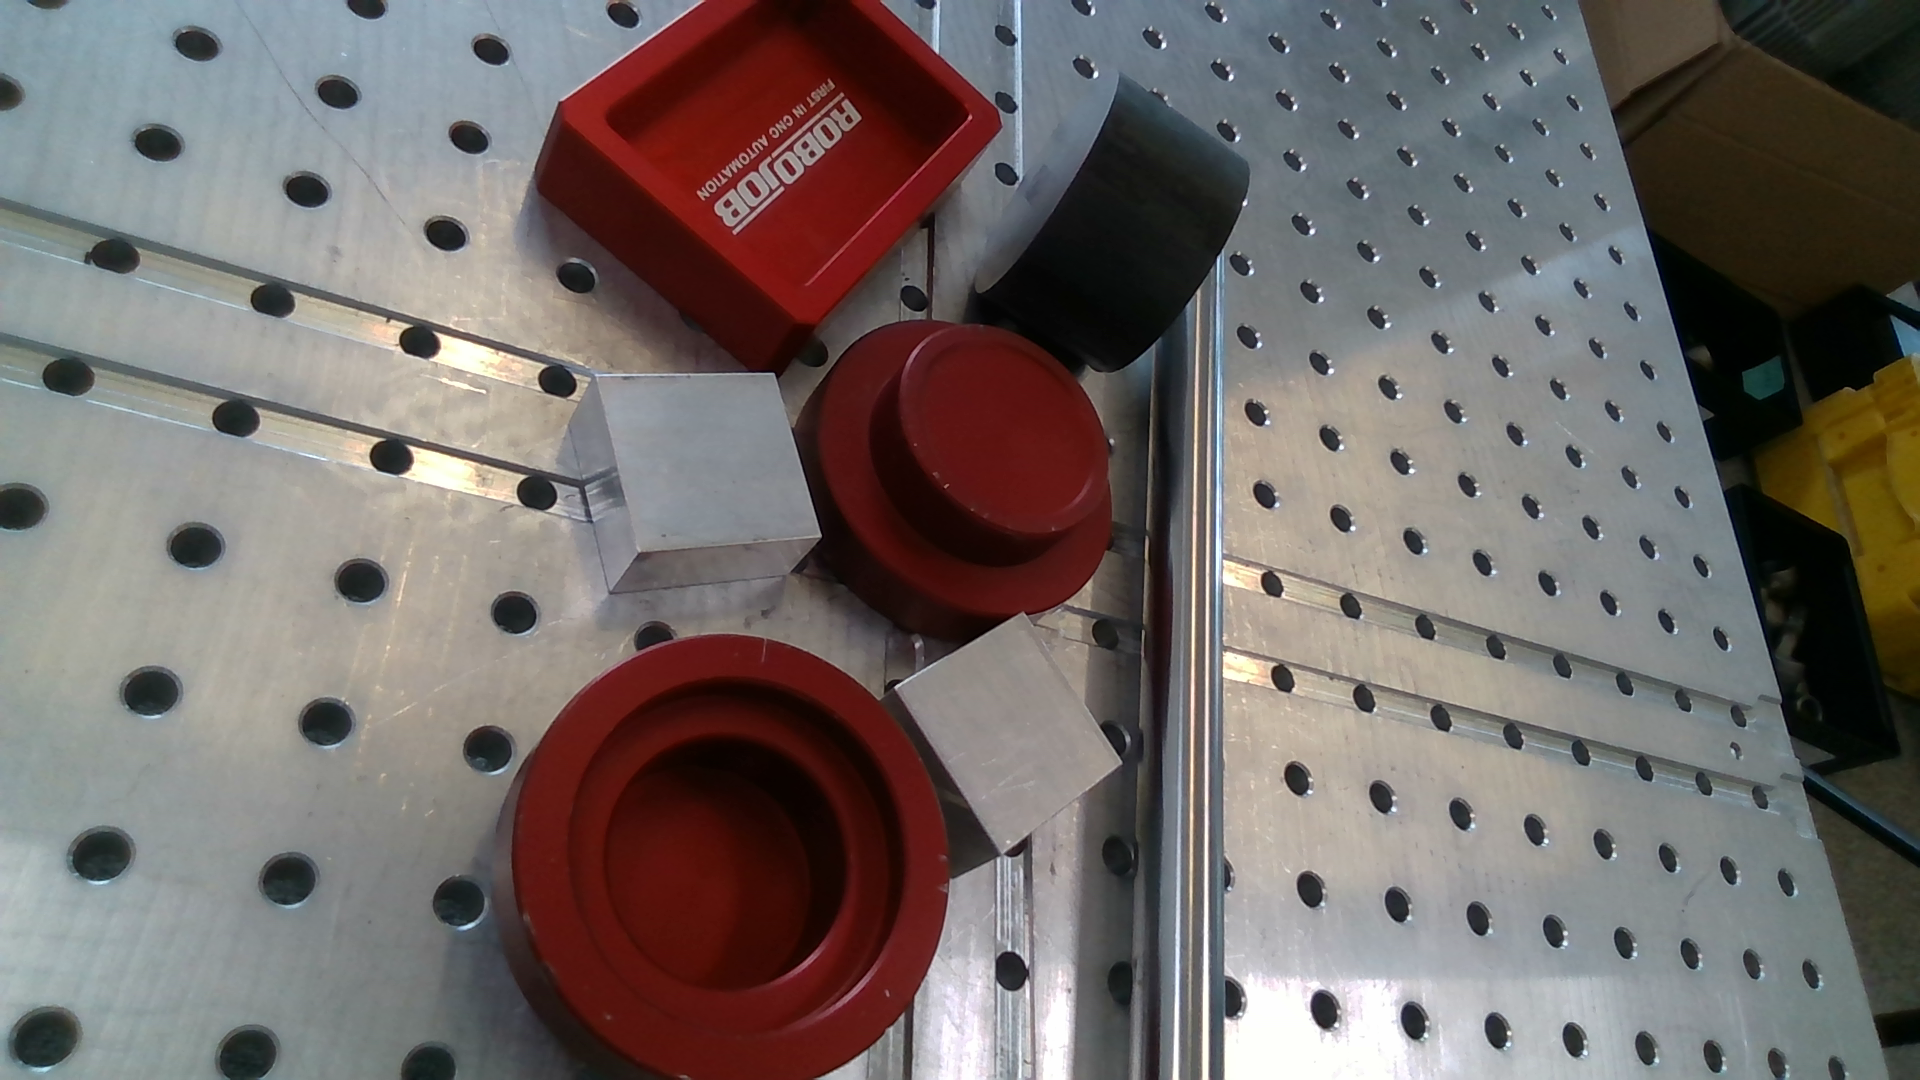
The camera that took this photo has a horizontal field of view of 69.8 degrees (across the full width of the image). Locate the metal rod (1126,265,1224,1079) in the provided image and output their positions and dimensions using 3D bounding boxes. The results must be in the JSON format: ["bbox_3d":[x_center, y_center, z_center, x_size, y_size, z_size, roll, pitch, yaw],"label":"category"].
[{"bbox_3d":[0.070,0.016,0.430,0.025,0.025,0.299,20,56,-21],"label":"metal rod"}]

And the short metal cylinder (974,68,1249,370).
[{"bbox_3d":[0.048,-0.103,0.445,0.050,0.080,0.080,30,53,-15],"label":"short metal cylinder"}]

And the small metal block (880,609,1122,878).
[{"bbox_3d":[0.007,0.054,0.372,0.050,0.025,0.050,-28,82,-39],"label":"small metal block"}]

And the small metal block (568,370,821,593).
[{"bbox_3d":[-0.070,-0.016,0.362,0.050,0.025,0.050,-6,68,-34],"label":"small metal block"}]

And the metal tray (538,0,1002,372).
[{"bbox_3d":[-0.053,-0.122,0.425,0.090,0.030,0.130,40,51,-7],"label":"metal tray"}]

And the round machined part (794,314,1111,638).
[{"bbox_3d":[0.005,-0.024,0.400,0.098,0.042,0.098,16,58,-27],"label":"round machined part"}]

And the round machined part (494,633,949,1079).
[{"bbox_3d":[-0.055,0.074,0.312,0.098,0.042,0.098,14,59,-25],"label":"round machined part"}]
